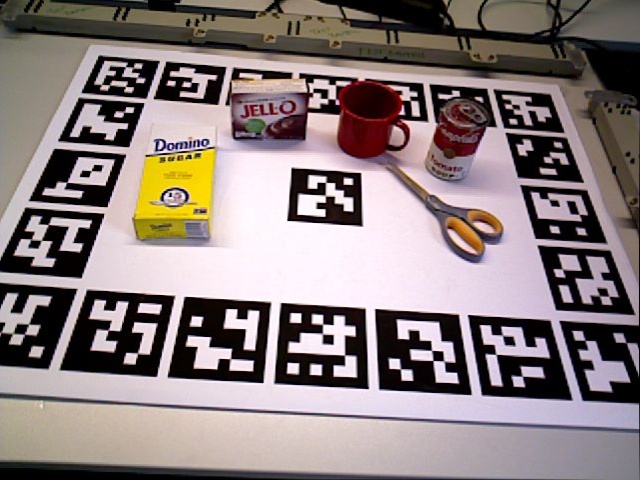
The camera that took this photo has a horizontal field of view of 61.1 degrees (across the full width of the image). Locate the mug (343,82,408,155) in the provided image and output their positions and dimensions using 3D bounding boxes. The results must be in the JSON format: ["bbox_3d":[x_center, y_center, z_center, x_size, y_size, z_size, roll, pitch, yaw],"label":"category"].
[{"bbox_3d":[0.084,-0.171,0.783,0.092,0.083,0.117,-29,61,-20],"label":"mug"}]

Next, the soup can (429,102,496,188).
[{"bbox_3d":[0.198,-0.132,0.763,0.067,0.104,0.067,2,53,-4],"label":"soup can"}]

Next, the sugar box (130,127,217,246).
[{"bbox_3d":[-0.188,-0.074,0.718,0.092,0.046,0.174,0,57,-3],"label":"sugar box"}]

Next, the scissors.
[{"bbox_3d":[0.170,-0.036,0.736,0.086,0.016,0.202,-38,67,-16],"label":"scissors"}]

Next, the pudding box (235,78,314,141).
[{"bbox_3d":[-0.064,-0.185,0.771,0.113,0.092,0.038,-3,61,-9],"label":"pudding box"}]
